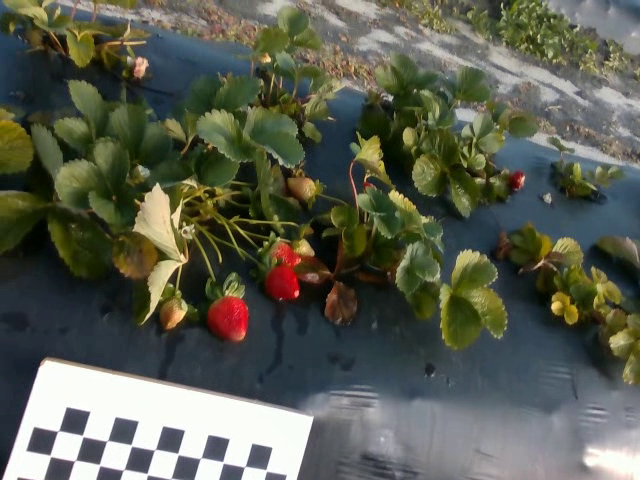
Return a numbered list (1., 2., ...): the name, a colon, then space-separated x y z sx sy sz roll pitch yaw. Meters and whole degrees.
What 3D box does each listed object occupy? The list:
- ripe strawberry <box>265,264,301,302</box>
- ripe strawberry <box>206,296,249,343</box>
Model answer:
1. ripe strawberry: -0.043 0.056 0.743 0.055 0.045 0.042 34 -11 40
2. ripe strawberry: -0.099 0.089 0.687 0.050 0.050 0.065 -25 41 -12
